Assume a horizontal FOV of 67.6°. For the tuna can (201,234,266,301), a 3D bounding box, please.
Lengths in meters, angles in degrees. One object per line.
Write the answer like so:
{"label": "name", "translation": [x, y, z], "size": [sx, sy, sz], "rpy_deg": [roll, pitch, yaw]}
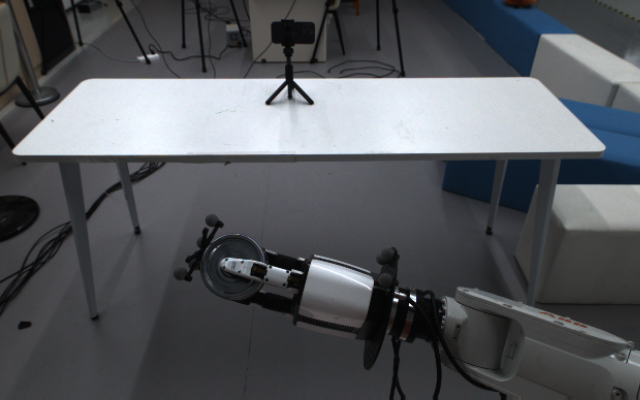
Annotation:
{"label": "tuna can", "translation": [-0.107, 0.093, 0.628], "size": [0.085, 0.034, 0.085], "rpy_deg": [0, 75, -2]}
